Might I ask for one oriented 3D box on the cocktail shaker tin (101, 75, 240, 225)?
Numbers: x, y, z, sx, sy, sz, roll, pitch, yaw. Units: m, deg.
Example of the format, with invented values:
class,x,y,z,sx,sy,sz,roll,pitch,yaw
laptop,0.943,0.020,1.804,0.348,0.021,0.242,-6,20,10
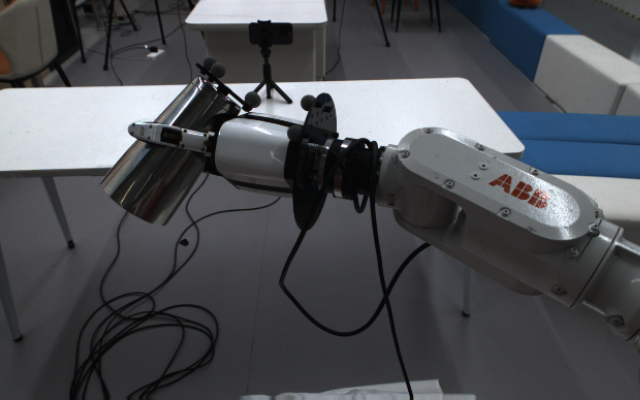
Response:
class,x,y,z,sx,sy,sz,roll,pitch,yaw
cocktail shaker tin,-0.172,-0.066,0.587,0.170,0.093,0.093,-50,46,4
